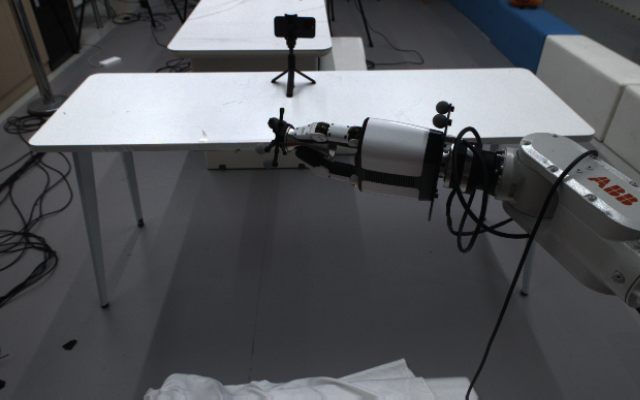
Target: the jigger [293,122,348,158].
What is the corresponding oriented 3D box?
[{"bbox_3d":[-0.008,-0.089,0.701,0.071,0.043,0.043,9,35,16],"label":"jigger"}]
